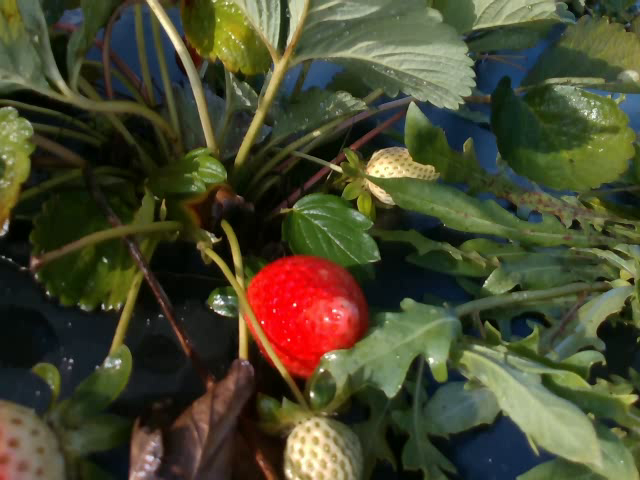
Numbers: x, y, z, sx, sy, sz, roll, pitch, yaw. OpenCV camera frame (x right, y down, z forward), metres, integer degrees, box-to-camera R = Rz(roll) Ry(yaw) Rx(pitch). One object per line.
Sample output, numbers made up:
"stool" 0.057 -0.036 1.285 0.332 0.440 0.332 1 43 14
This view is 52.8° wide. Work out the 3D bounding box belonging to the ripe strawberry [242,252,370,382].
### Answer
"ripe strawberry" 0.001 0.016 0.166 0.039 0.032 0.048 -4 -8 -22
